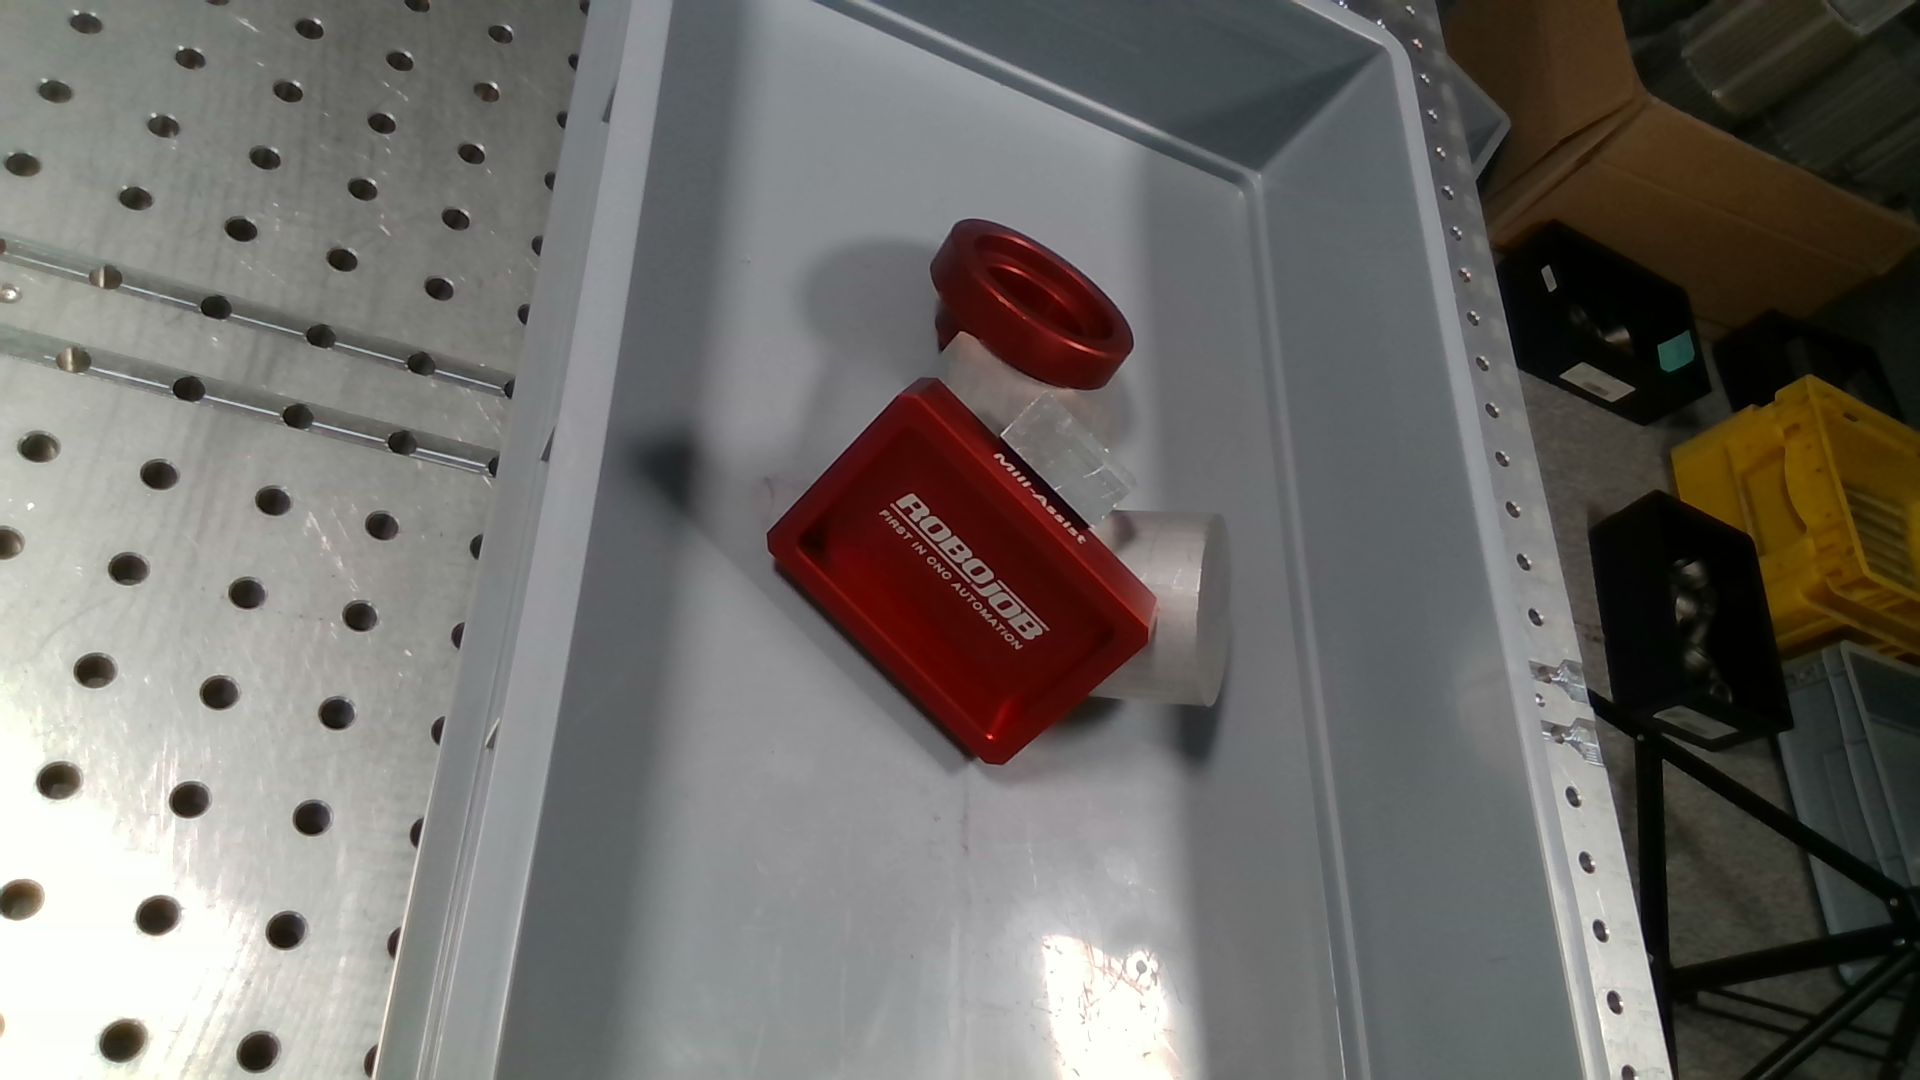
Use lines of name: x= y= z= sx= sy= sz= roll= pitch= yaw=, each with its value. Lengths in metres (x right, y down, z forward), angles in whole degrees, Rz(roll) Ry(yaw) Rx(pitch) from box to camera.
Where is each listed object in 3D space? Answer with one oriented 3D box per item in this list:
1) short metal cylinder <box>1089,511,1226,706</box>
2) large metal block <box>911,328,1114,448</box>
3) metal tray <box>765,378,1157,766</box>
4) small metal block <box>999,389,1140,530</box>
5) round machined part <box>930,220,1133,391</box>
short metal cylinder: x=0.082 y=0.028 z=0.577 sx=0.050 sy=0.080 sz=0.080 roll=2 pitch=53 yaw=20
large metal block: x=0.013 y=-0.030 z=0.593 sx=0.080 sy=0.050 sz=0.080 roll=27 pitch=54 yaw=-17
metal tray: x=0.001 y=0.014 z=0.534 sx=0.130 sy=0.090 sz=0.030 roll=45 pitch=24 yaw=-4
small metal block: x=0.040 y=-0.030 z=0.543 sx=0.050 sy=0.050 sz=0.025 roll=45 pitch=89 yaw=-3
round machined part: x=0.027 y=-0.100 z=0.629 sx=0.098 sy=0.042 sz=0.098 roll=26 pitch=31 yaw=-17
